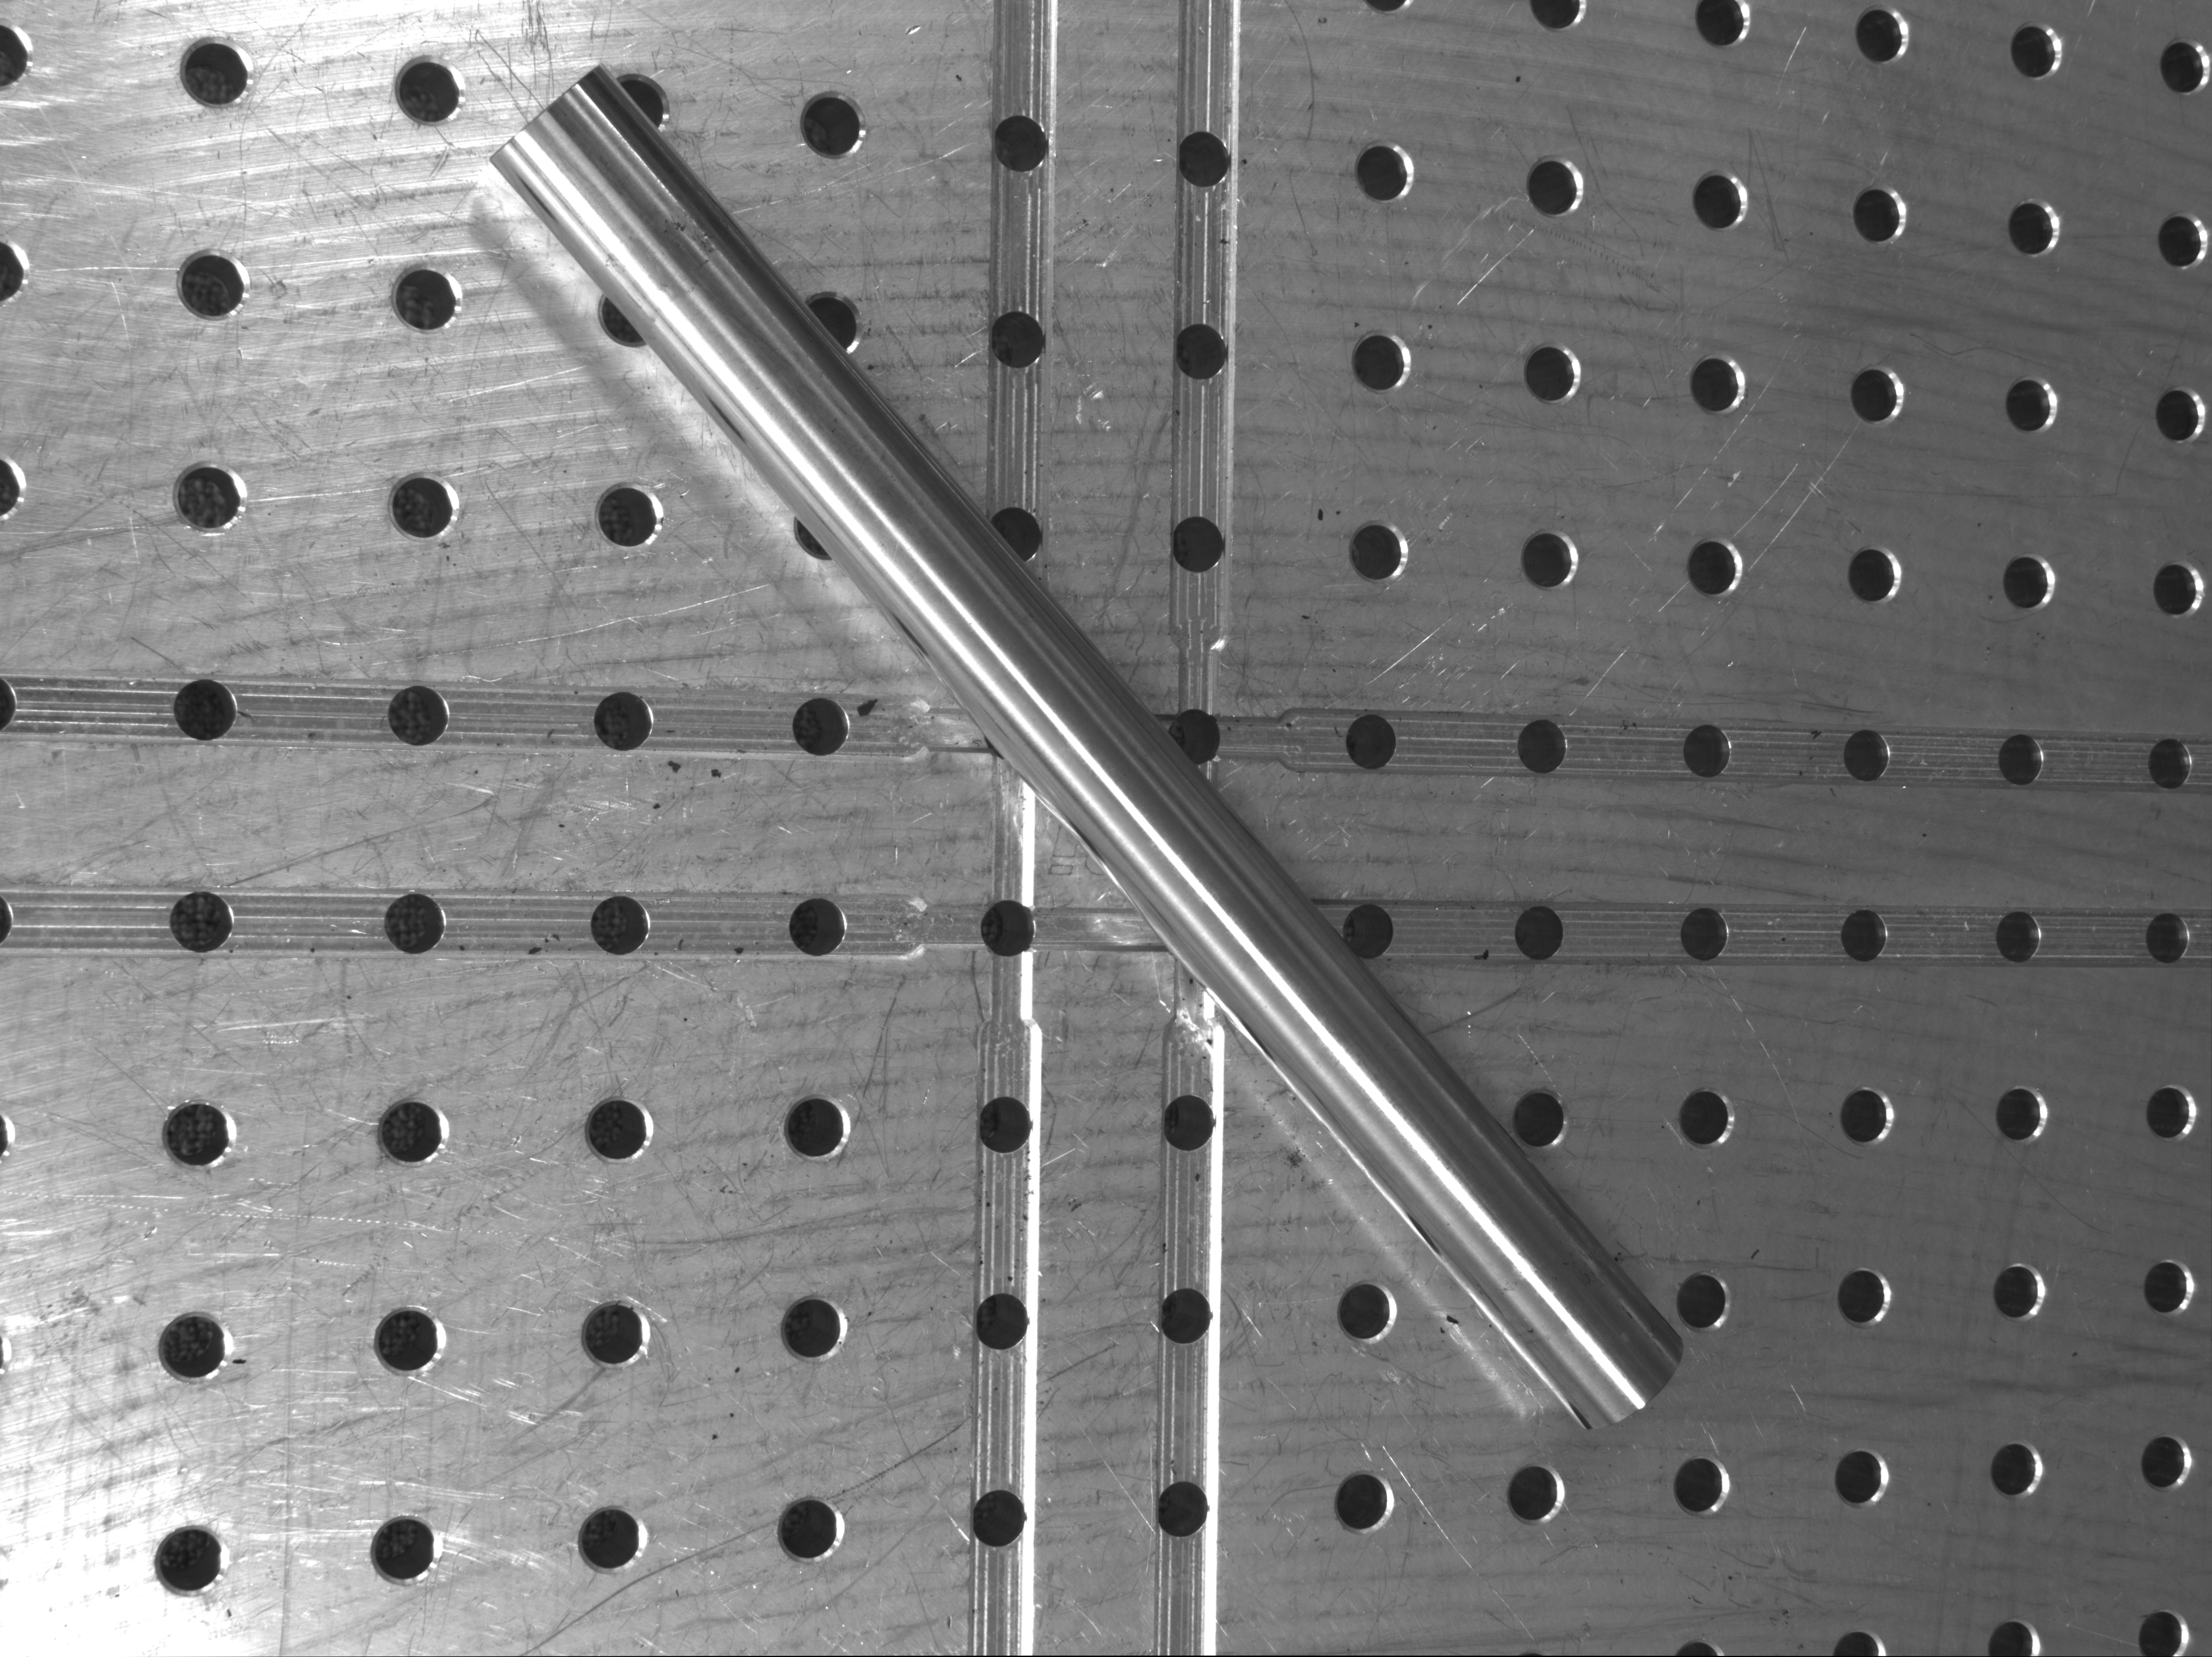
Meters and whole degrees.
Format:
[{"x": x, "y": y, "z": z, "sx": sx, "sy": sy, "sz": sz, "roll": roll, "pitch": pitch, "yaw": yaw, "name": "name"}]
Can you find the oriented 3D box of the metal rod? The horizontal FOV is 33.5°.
[{"x": 0.001, "y": -0.009, "z": 0.646, "sx": 0.025, "sy": 0.025, "sz": 0.300, "roll": -44, "pitch": 104, "yaw": -14, "name": "metal rod"}]
